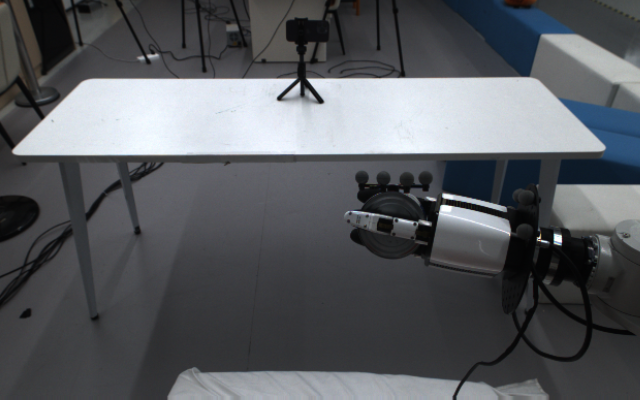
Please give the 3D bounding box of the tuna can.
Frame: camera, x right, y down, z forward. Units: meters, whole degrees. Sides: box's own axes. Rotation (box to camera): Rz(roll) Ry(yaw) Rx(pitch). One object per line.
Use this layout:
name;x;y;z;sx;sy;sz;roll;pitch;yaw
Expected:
tuna can;0.094;0.029;0.614;0.085;0.085;0.034;13;7;15
